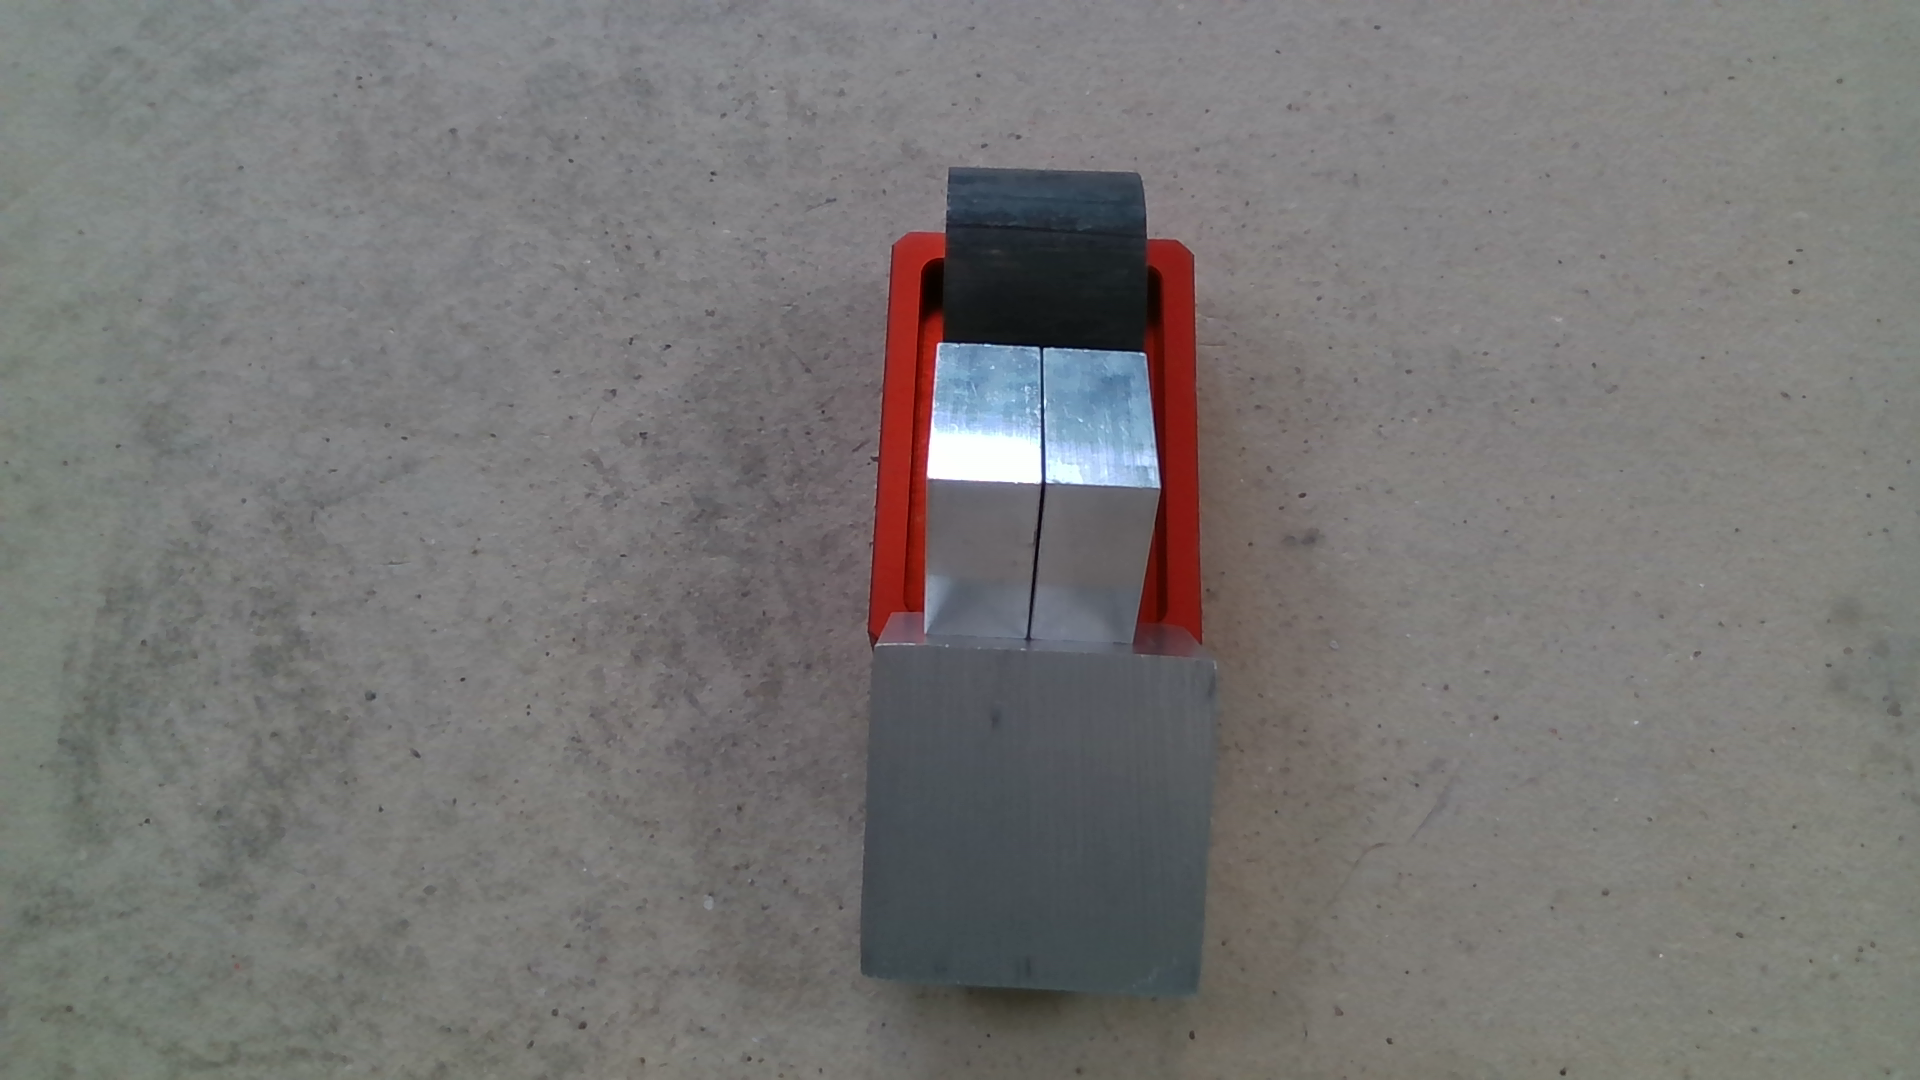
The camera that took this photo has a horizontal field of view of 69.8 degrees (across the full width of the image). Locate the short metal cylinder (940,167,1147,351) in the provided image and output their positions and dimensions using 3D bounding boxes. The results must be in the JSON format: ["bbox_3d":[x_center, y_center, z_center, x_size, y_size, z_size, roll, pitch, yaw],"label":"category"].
[{"bbox_3d":[0.021,-0.060,0.374,0.050,0.080,0.080,1,70,0],"label":"short metal cylinder"}]

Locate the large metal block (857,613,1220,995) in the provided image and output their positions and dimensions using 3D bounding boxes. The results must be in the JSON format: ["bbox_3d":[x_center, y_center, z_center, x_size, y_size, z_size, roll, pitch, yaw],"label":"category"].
[{"bbox_3d":[0.018,0.063,0.345,0.080,0.050,0.080,3,96,1],"label":"large metal block"}]

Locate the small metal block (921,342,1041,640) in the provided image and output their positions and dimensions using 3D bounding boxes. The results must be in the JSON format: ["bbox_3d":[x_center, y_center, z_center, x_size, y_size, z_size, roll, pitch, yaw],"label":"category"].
[{"bbox_3d":[0.005,-0.012,0.330,0.025,0.050,0.050,3,44,-1],"label":"small metal block"}]

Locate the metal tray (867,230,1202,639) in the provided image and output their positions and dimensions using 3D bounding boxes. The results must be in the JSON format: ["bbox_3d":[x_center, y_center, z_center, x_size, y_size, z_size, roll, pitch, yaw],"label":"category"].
[{"bbox_3d":[0.022,-0.025,0.402,0.090,0.030,0.130,2,71,1],"label":"metal tray"}]

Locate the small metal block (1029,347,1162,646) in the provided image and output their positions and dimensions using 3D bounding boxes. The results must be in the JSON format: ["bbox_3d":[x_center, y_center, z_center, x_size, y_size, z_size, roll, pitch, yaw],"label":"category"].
[{"bbox_3d":[0.031,-0.010,0.331,0.025,0.050,0.050,3,44,-1],"label":"small metal block"}]
